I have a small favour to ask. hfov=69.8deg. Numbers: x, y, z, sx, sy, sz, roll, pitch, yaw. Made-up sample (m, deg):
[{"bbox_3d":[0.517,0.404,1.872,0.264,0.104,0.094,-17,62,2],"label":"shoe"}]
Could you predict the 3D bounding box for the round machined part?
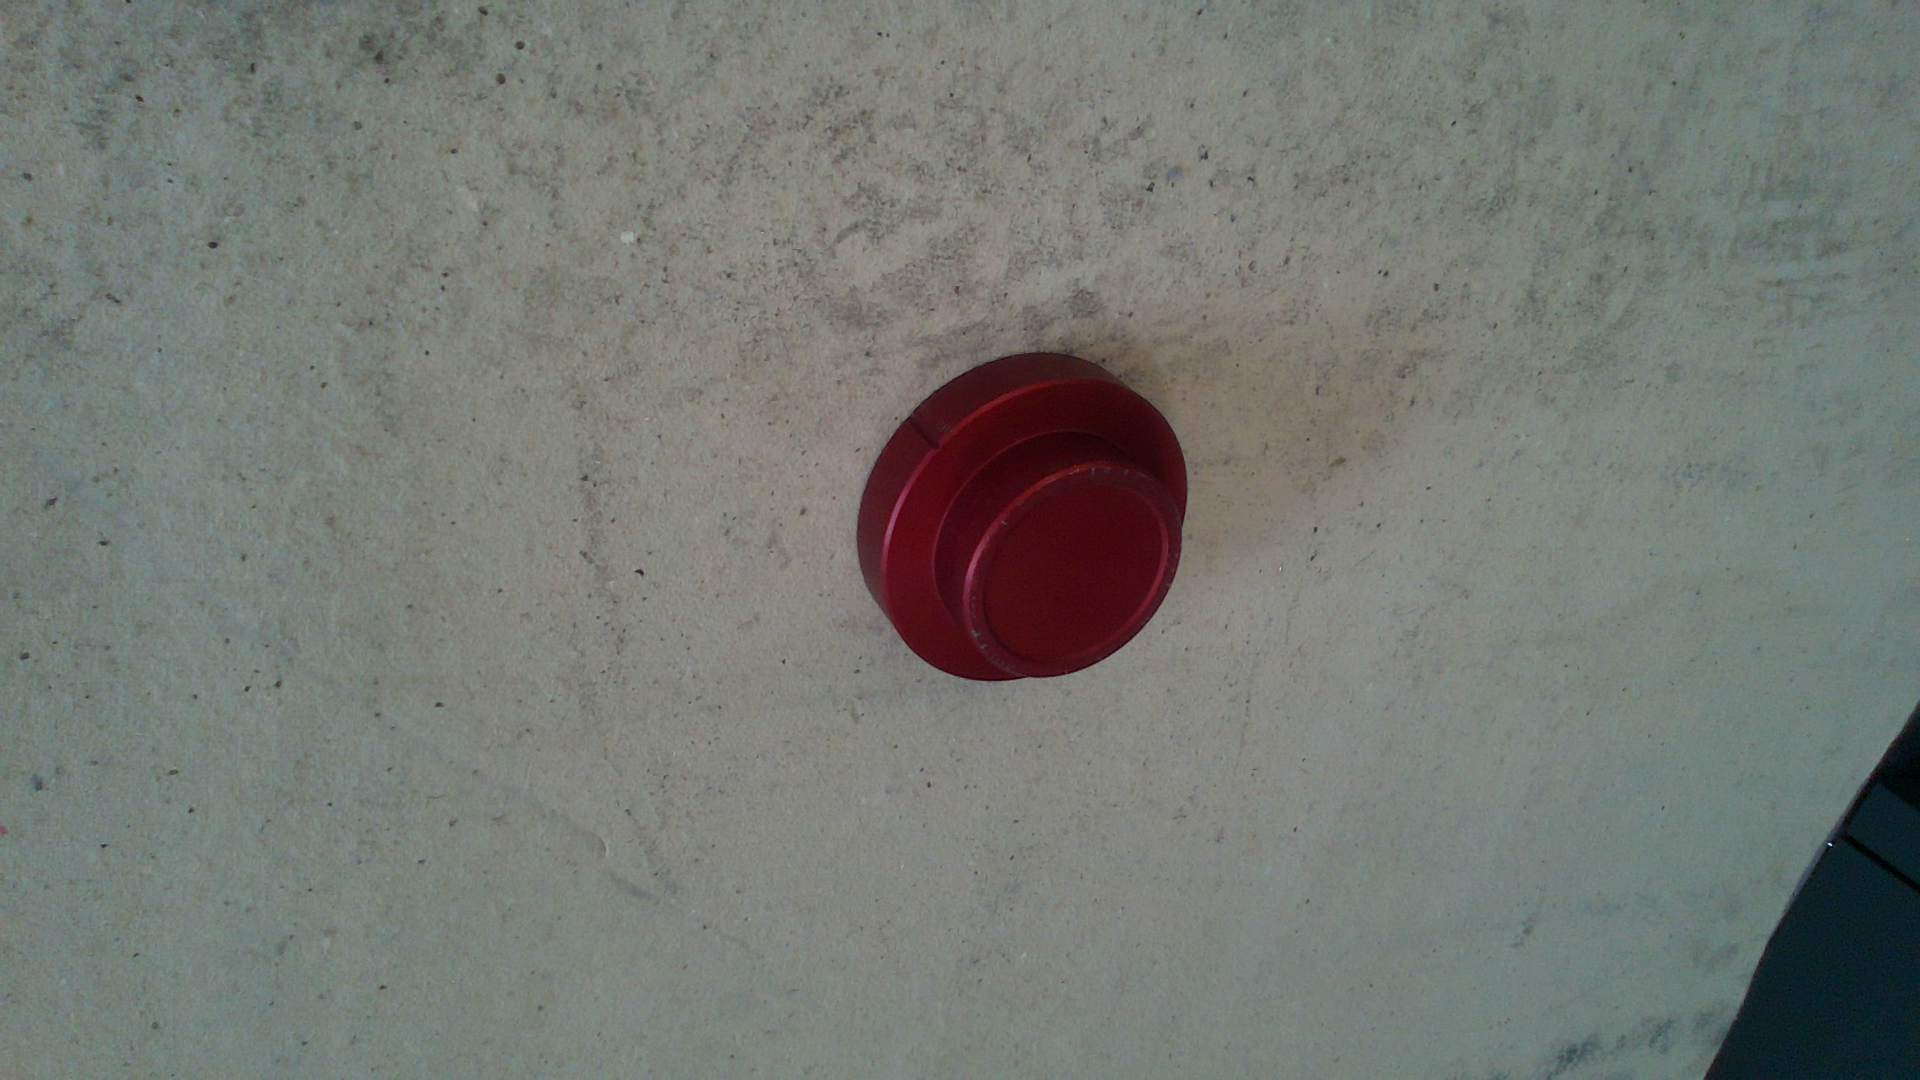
[{"bbox_3d":[0.023,0.000,0.391,0.098,0.042,0.098,-14,124,-21],"label":"round machined part"}]
